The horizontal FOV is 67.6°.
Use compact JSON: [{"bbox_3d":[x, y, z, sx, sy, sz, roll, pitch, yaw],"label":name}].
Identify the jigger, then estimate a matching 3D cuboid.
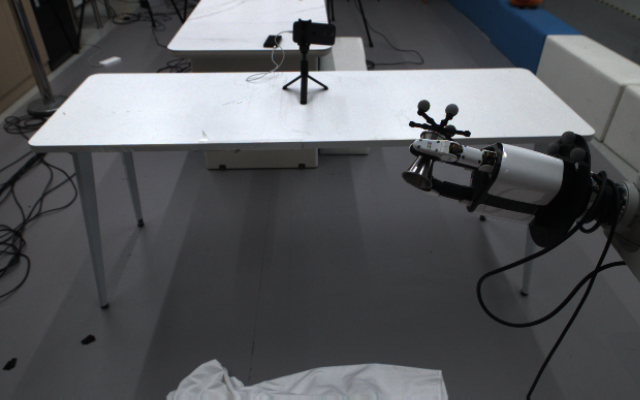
[{"bbox_3d":[0.144,-0.059,0.661,0.043,0.043,0.071,19,72,23],"label":"jigger"}]
